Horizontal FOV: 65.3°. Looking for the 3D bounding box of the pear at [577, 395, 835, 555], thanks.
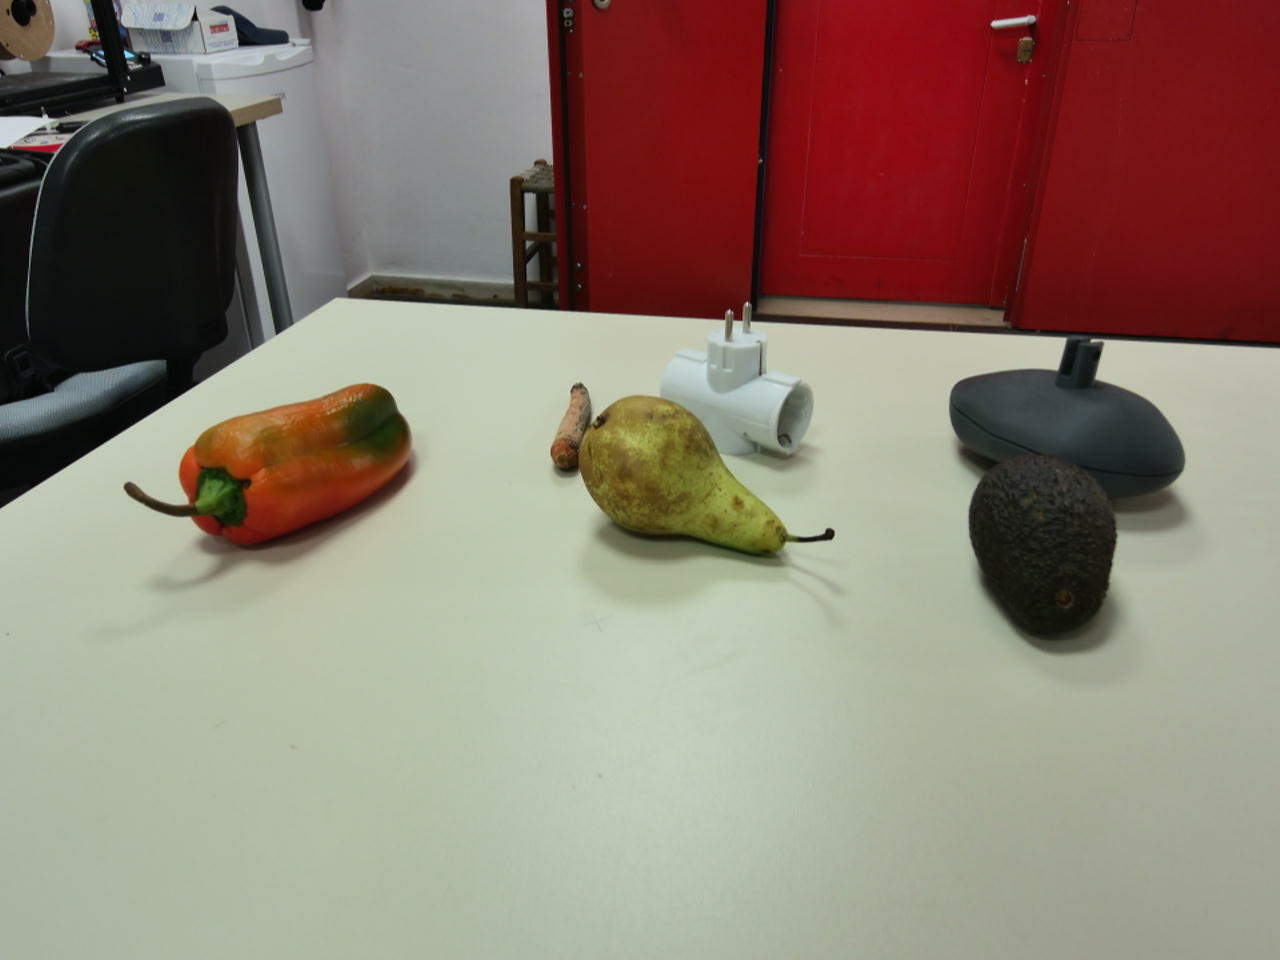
[{"bbox_3d":[0.037,-0.004,0.528,0.144,0.075,0.071,8,27,18],"label":"pear"}]
